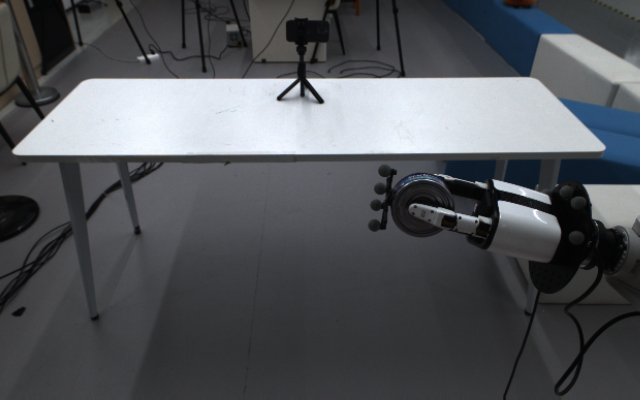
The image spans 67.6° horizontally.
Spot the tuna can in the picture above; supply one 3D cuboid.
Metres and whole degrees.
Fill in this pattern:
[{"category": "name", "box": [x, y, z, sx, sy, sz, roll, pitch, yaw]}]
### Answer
[{"category": "tuna can", "box": [0.141, 0.005, 0.664, 0.085, 0.085, 0.034, 4, 17, 3]}]
